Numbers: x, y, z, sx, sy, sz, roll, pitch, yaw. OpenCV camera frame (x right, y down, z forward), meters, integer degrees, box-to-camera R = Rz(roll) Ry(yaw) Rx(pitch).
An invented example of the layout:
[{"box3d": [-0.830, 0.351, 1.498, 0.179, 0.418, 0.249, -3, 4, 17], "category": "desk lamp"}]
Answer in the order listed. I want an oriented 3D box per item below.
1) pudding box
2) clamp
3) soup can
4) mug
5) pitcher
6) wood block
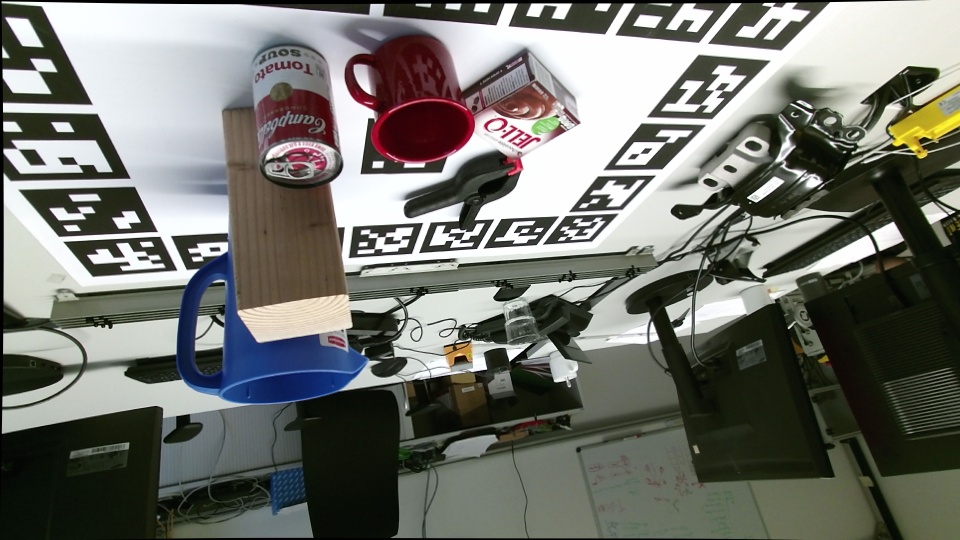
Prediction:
[{"box3d": [0.049, -0.167, 0.574, 0.090, 0.038, 0.114, -30, 154, 27], "category": "pudding box"}, {"box3d": [-0.015, -0.100, 0.708, 0.122, 0.036, 0.165, 18, 142, -41], "category": "clamp"}, {"box3d": [-0.156, -0.124, 0.457, 0.068, 0.101, 0.068, -13, 156, -6], "category": "soup can"}, {"box3d": [-0.066, -0.152, 0.476, 0.093, 0.081, 0.117, -25, 157, 31], "category": "mug"}, {"box3d": [-0.236, 0.031, 0.601, 0.189, 0.241, 0.133, -9, 160, -20], "category": "pitcher"}, {"box3d": [-0.184, -0.037, 0.510, 0.090, 0.205, 0.091, -4, 156, -15], "category": "wood block"}]
